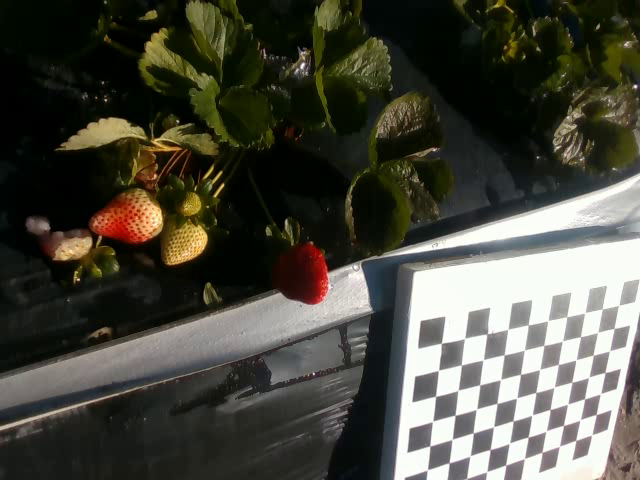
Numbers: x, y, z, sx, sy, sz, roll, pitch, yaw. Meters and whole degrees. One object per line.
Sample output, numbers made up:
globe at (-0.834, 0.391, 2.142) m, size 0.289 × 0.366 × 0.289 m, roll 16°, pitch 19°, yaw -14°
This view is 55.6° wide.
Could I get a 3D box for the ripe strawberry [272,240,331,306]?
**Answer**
ripe strawberry at (-0.010, 0.022, 0.332) m, size 0.036 × 0.038 × 0.045 m, roll -7°, pitch 33°, yaw -23°
